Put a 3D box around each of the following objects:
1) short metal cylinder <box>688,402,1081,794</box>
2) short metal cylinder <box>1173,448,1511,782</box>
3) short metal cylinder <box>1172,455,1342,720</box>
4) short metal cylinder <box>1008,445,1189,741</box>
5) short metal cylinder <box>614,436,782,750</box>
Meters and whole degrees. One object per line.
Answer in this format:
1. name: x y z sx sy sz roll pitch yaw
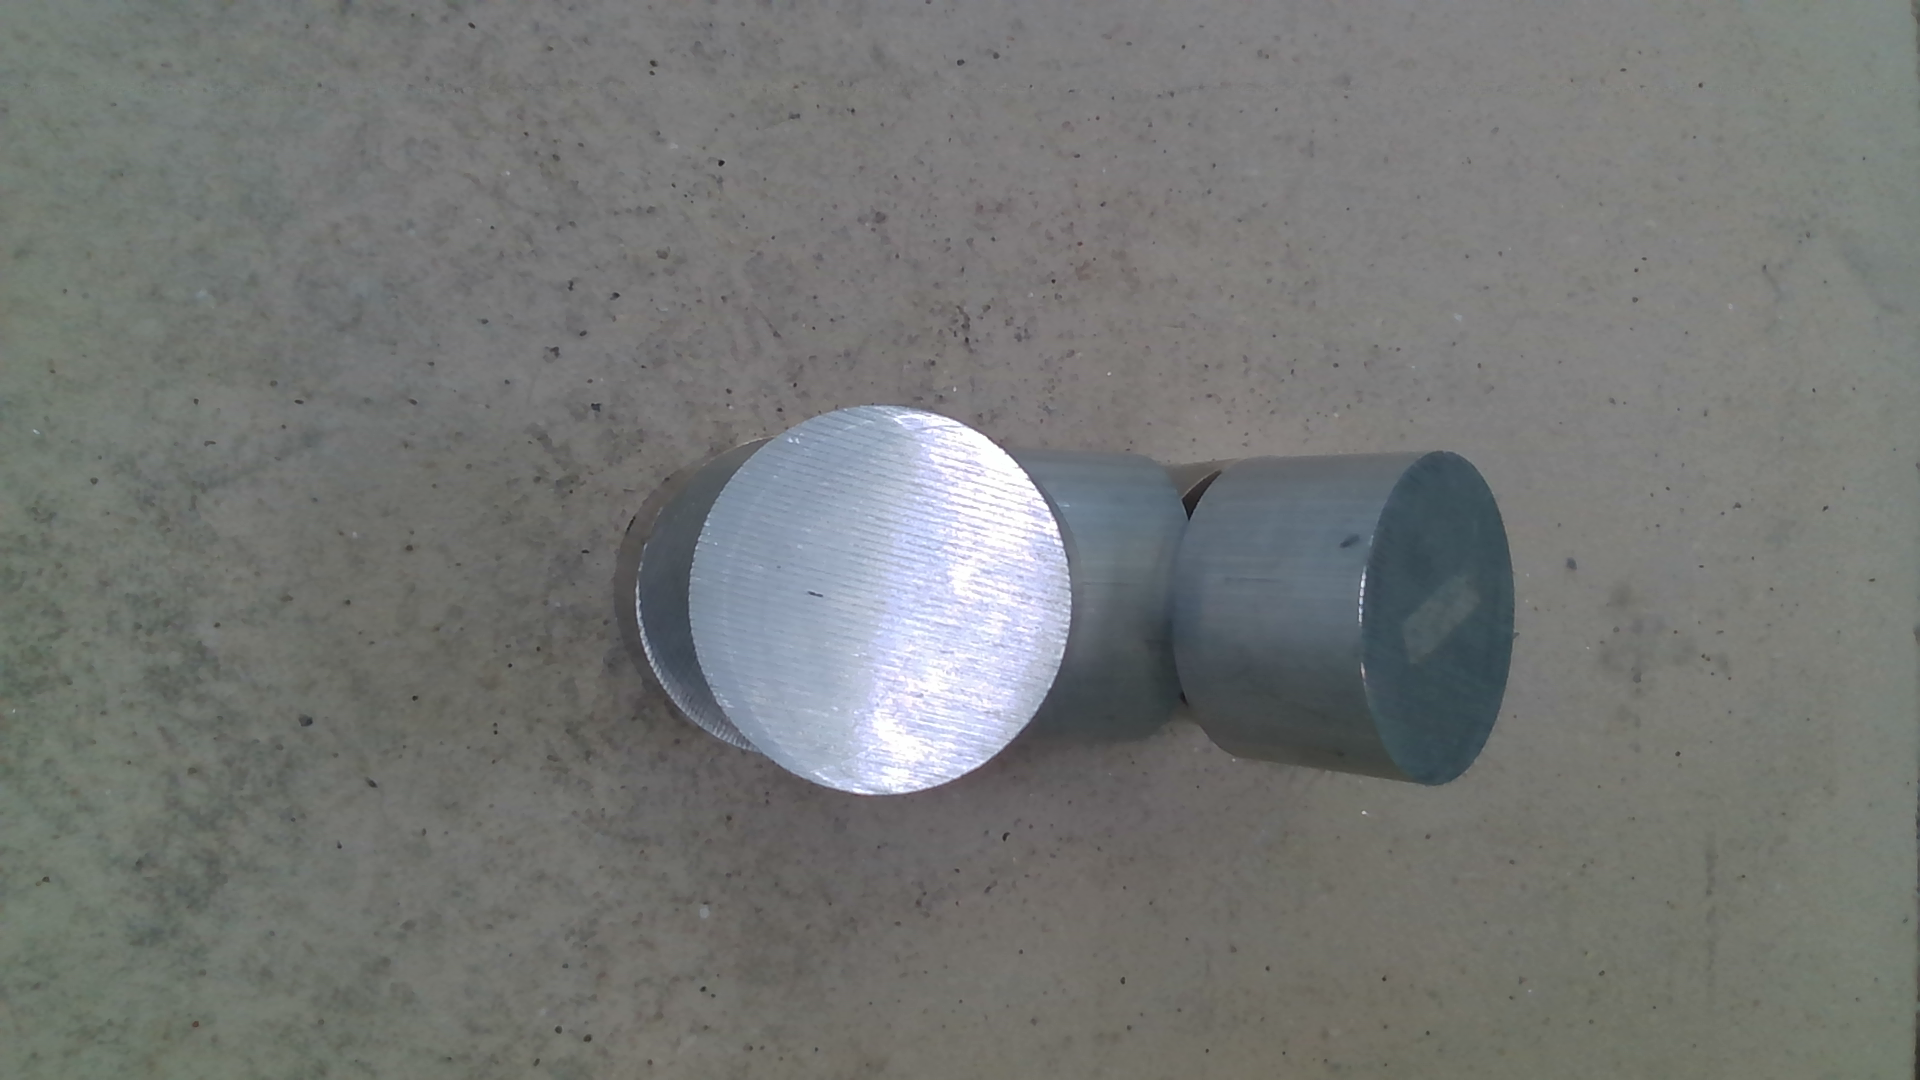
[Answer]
1. short metal cylinder: -0.013 0.012 0.306 0.080 0.050 0.080 0 89 8
2. short metal cylinder: 0.098 0.018 0.348 0.080 0.050 0.080 -1 92 -46
3. short metal cylinder: 0.079 0.016 0.411 0.080 0.050 0.080 0 90 -20
4. short metal cylinder: 0.023 0.015 0.374 0.050 0.080 0.080 1 89 -20
5. short metal cylinder: -0.048 0.013 0.364 0.080 0.050 0.080 0 90 -20
